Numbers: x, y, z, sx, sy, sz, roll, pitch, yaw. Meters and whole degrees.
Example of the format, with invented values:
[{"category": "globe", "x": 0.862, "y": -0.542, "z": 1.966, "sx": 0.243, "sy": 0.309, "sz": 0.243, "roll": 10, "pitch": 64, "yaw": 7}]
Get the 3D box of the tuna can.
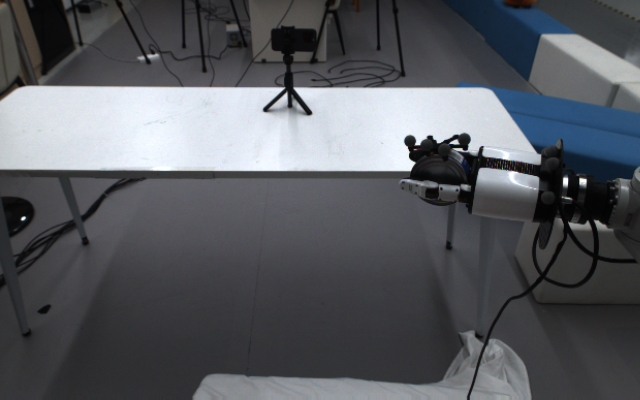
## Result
[{"category": "tuna can", "x": 0.183, "y": -0.038, "z": 0.732, "sx": 0.085, "sy": 0.085, "sz": 0.034, "roll": 17, "pitch": 37, "yaw": 20}]
